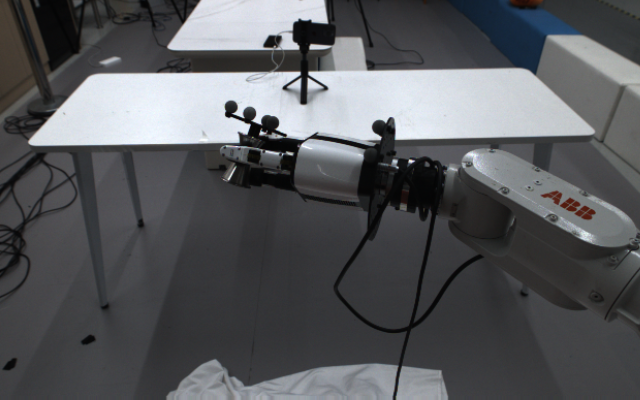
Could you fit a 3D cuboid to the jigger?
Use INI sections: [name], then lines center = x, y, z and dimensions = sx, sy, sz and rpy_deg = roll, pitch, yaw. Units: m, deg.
[jigger]
center = -0.108, -0.056, 0.657
dimensions = 0.043, 0.071, 0.043
rpy_deg = 21, 6, -2
